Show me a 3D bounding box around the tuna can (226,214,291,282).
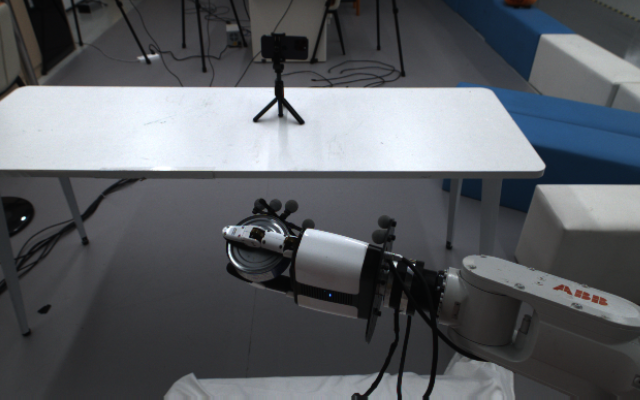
[{"bbox_3d":[-0.078,0.062,0.642,0.085,0.034,0.085,-4,56,6],"label":"tuna can"}]
